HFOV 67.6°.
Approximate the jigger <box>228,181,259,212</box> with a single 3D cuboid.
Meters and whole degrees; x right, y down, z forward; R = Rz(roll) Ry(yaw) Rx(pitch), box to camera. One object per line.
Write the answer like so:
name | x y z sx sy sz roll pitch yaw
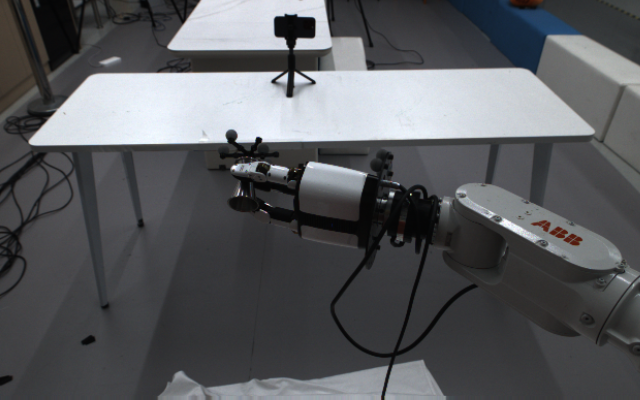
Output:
jigger | -0.106 -0.026 0.686 0.043 0.043 0.071 2 59 0
